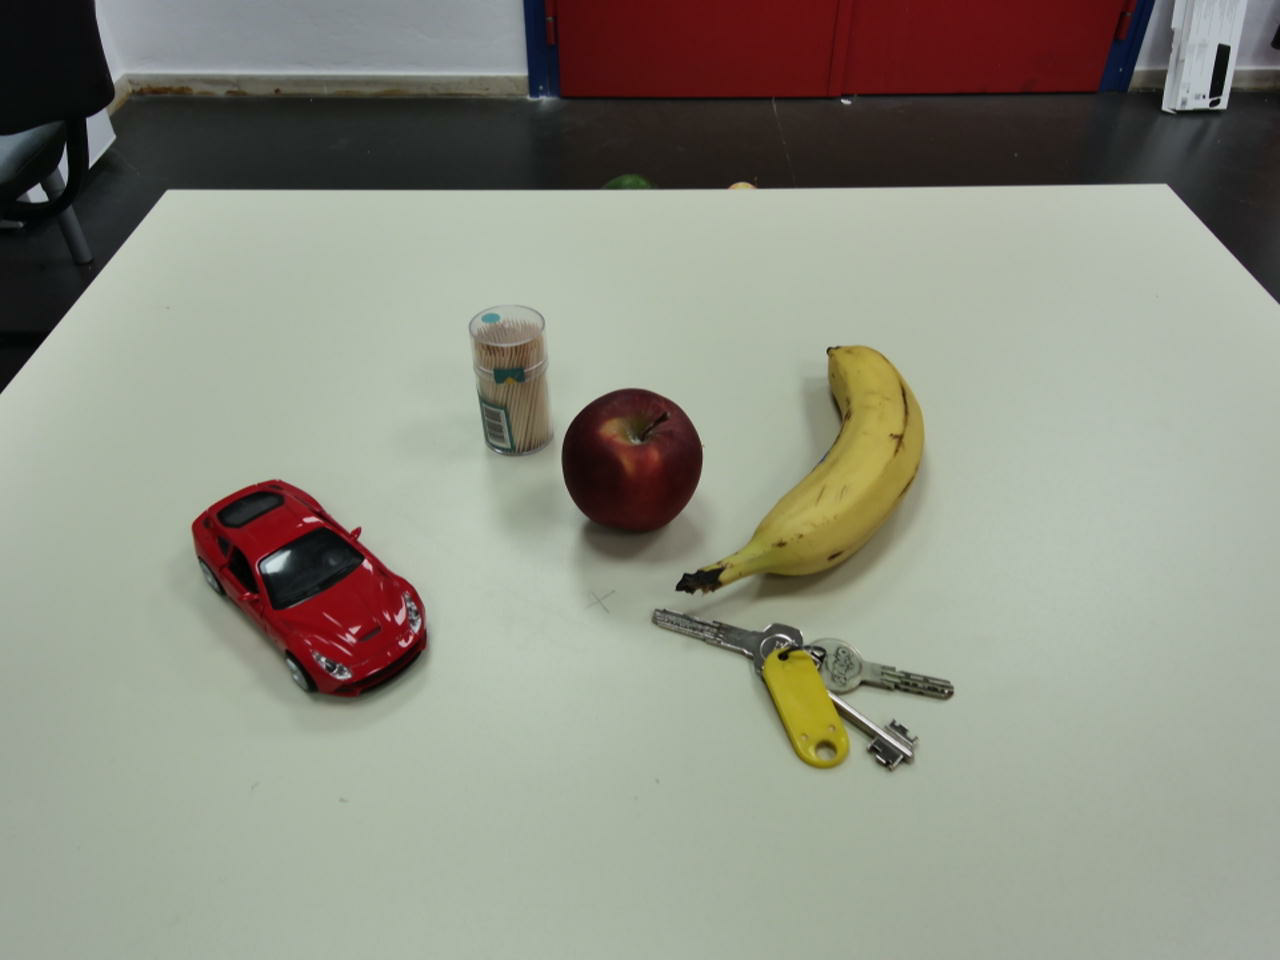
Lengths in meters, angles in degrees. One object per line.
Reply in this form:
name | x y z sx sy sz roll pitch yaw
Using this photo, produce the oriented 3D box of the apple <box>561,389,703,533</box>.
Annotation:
apple | -0.003 -0.008 0.488 0.070 0.072 0.070 0 39 0
